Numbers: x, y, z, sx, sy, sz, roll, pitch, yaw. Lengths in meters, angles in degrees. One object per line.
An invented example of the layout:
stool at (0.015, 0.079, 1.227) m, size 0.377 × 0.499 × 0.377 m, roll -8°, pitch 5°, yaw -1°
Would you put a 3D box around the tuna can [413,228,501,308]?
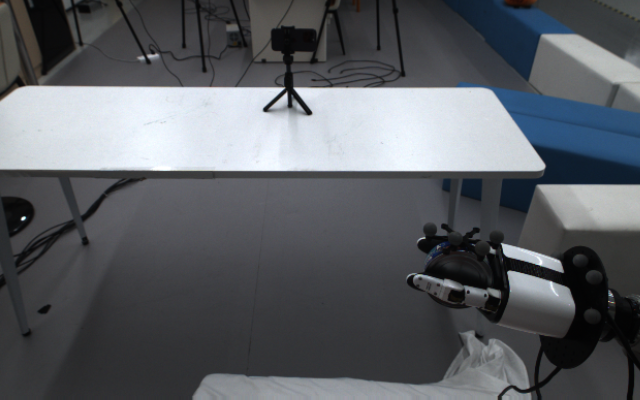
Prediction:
tuna can at (0.177, 0.093, 0.623) m, size 0.085 × 0.085 × 0.034 m, roll 9°, pitch 22°, yaw 10°
